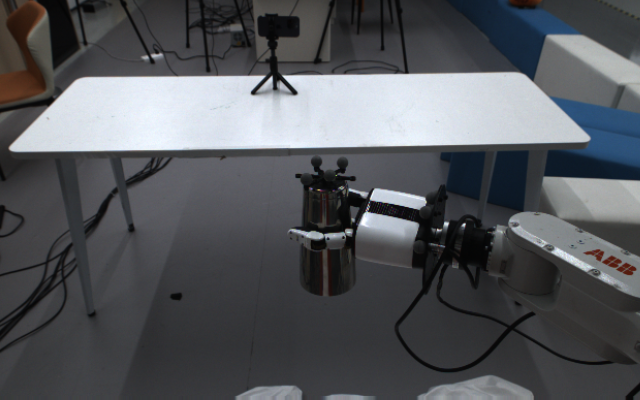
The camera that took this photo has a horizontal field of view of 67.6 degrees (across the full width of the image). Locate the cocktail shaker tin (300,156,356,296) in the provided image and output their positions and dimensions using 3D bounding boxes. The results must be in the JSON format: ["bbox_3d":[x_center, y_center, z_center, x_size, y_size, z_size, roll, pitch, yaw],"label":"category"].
[{"bbox_3d":[0.012,0.050,0.744,0.093,0.170,0.093,-1,26,1],"label":"cocktail shaker tin"}]
